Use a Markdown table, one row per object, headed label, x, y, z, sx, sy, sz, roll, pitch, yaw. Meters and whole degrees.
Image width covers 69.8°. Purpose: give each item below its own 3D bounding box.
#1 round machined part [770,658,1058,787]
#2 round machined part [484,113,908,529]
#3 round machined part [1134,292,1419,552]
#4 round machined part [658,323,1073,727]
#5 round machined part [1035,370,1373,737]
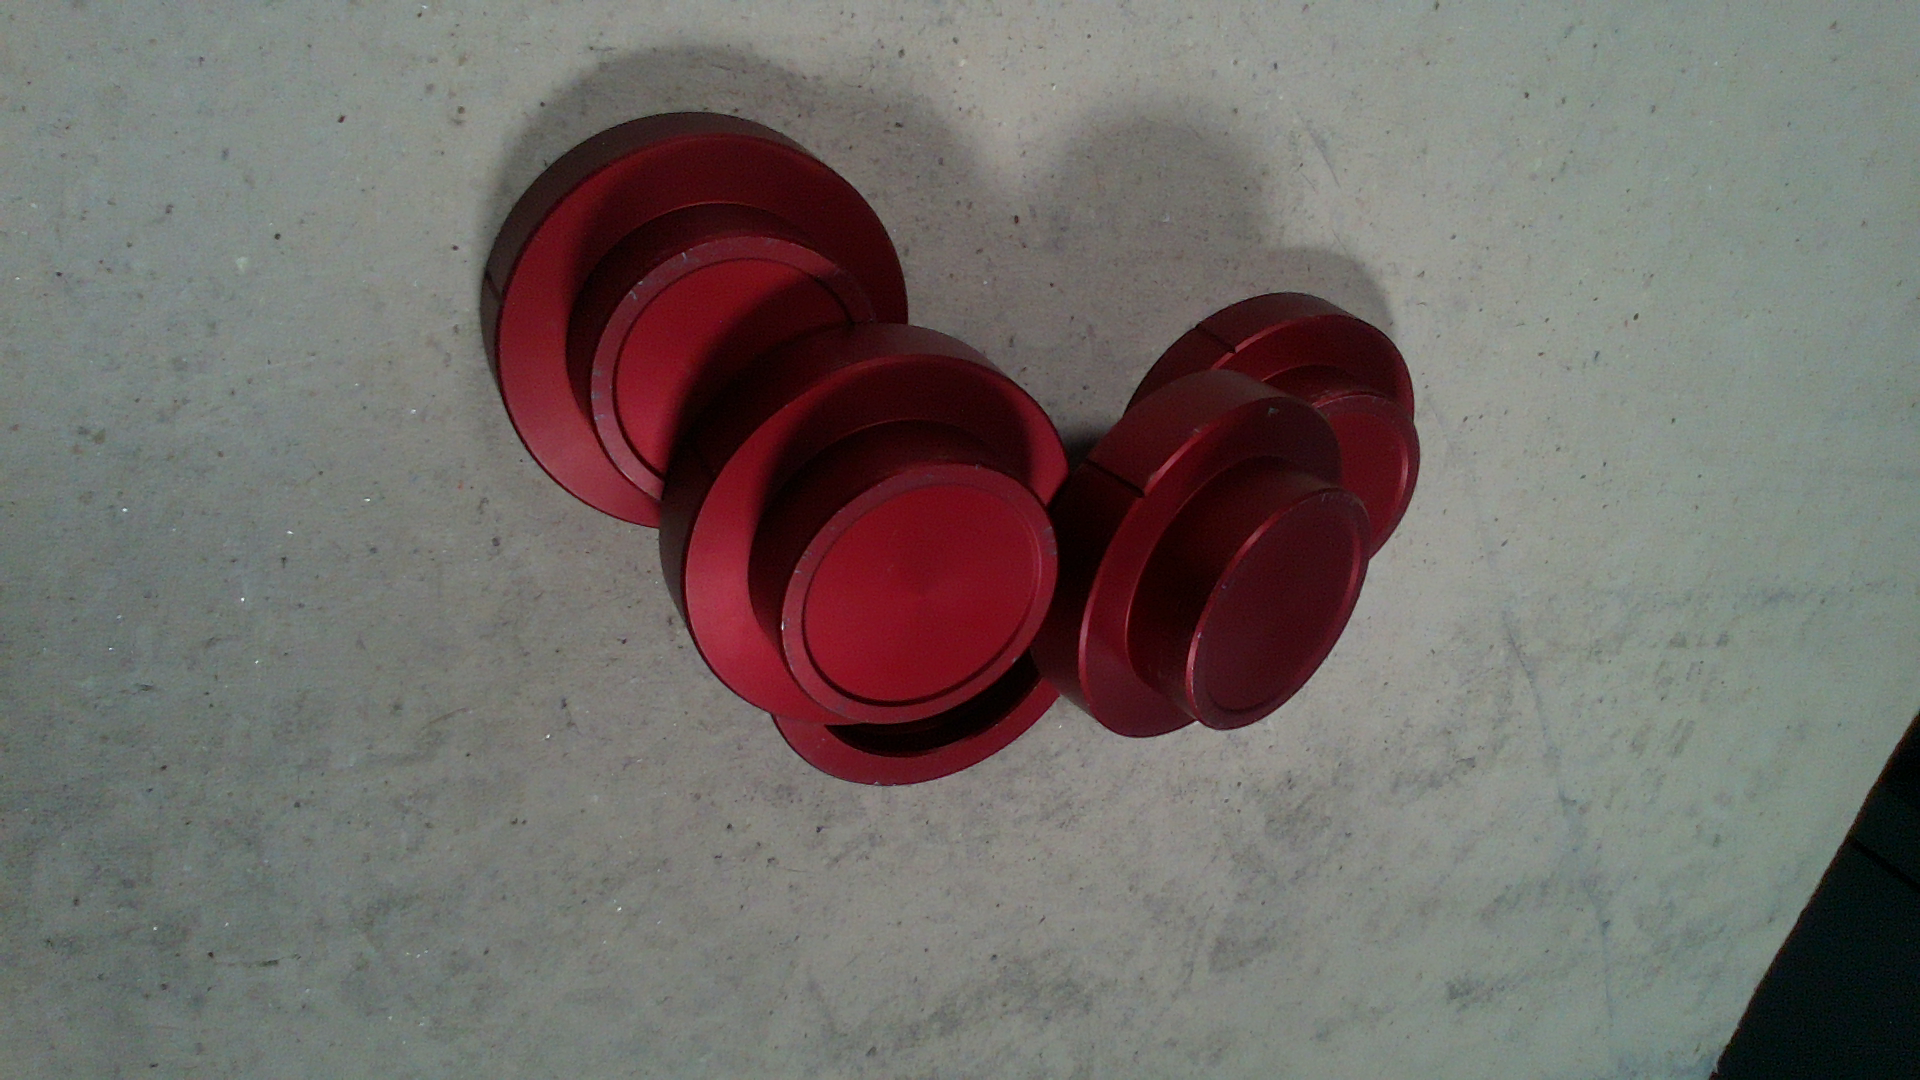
| label | x | y | z | sx | sy | sz | roll | pitch | yaw |
| --- | --- | --- | --- | --- | --- | --- | --- | --- | --- |
| round machined part | -0.014 | 0.017 | 0.381 | 0.098 | 0.042 | 0.098 | -14 | 124 | -21 |
| round machined part | -0.057 | -0.045 | 0.319 | 0.098 | 0.042 | 0.098 | -14 | 124 | -21 |
| round machined part | 0.099 | -0.022 | 0.418 | 0.098 | 0.042 | 0.098 | -14 | 124 | -21 |
| round machined part | -0.016 | 0.003 | 0.317 | 0.098 | 0.042 | 0.098 | -14 | 124 | -21 |
| round machined part | 0.067 | 0.009 | 0.353 | 0.098 | 0.042 | 0.098 | -23 | 130 | -30 |
